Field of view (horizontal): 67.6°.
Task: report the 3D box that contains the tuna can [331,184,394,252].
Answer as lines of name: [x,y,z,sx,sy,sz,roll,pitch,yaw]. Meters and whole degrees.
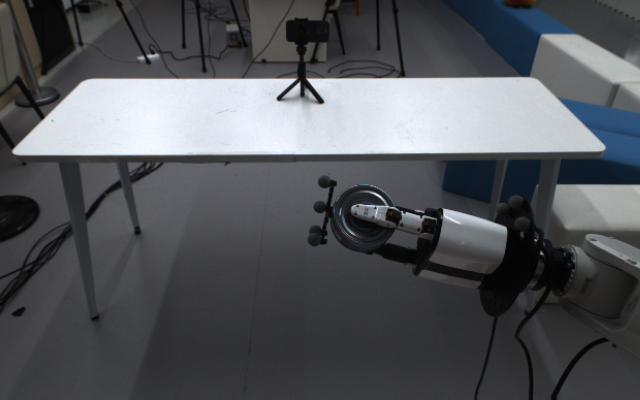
tuna can: [0.060,0.026,0.630,0.085,0.034,0.085,1,73,-4]
